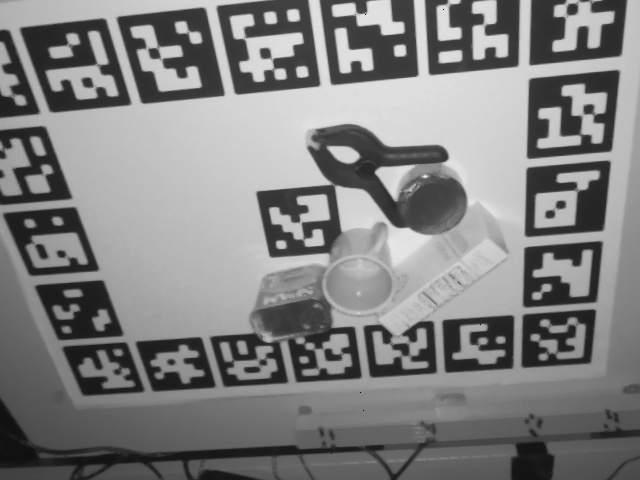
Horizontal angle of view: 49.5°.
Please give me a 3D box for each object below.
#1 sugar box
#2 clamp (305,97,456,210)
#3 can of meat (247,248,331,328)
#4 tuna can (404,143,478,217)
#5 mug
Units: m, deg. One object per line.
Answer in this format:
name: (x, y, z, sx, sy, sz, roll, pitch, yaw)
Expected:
sugar box: (0.150, 0.015, 0.847, 0.045, 0.094, 0.174, 41, 115, -19)
clamp: (0.059, -0.116, 0.812, 0.165, 0.037, 0.120, 28, 121, -7)
can of meat: (-0.035, 0.059, 0.887, 0.101, 0.084, 0.057, -12, 119, 12)
tuna can: (0.143, -0.072, 0.826, 0.086, 0.034, 0.085, 1, 117, 3)
mug: (0.056, 0.011, 0.846, 0.093, 0.082, 0.116, 17, 117, -5)
